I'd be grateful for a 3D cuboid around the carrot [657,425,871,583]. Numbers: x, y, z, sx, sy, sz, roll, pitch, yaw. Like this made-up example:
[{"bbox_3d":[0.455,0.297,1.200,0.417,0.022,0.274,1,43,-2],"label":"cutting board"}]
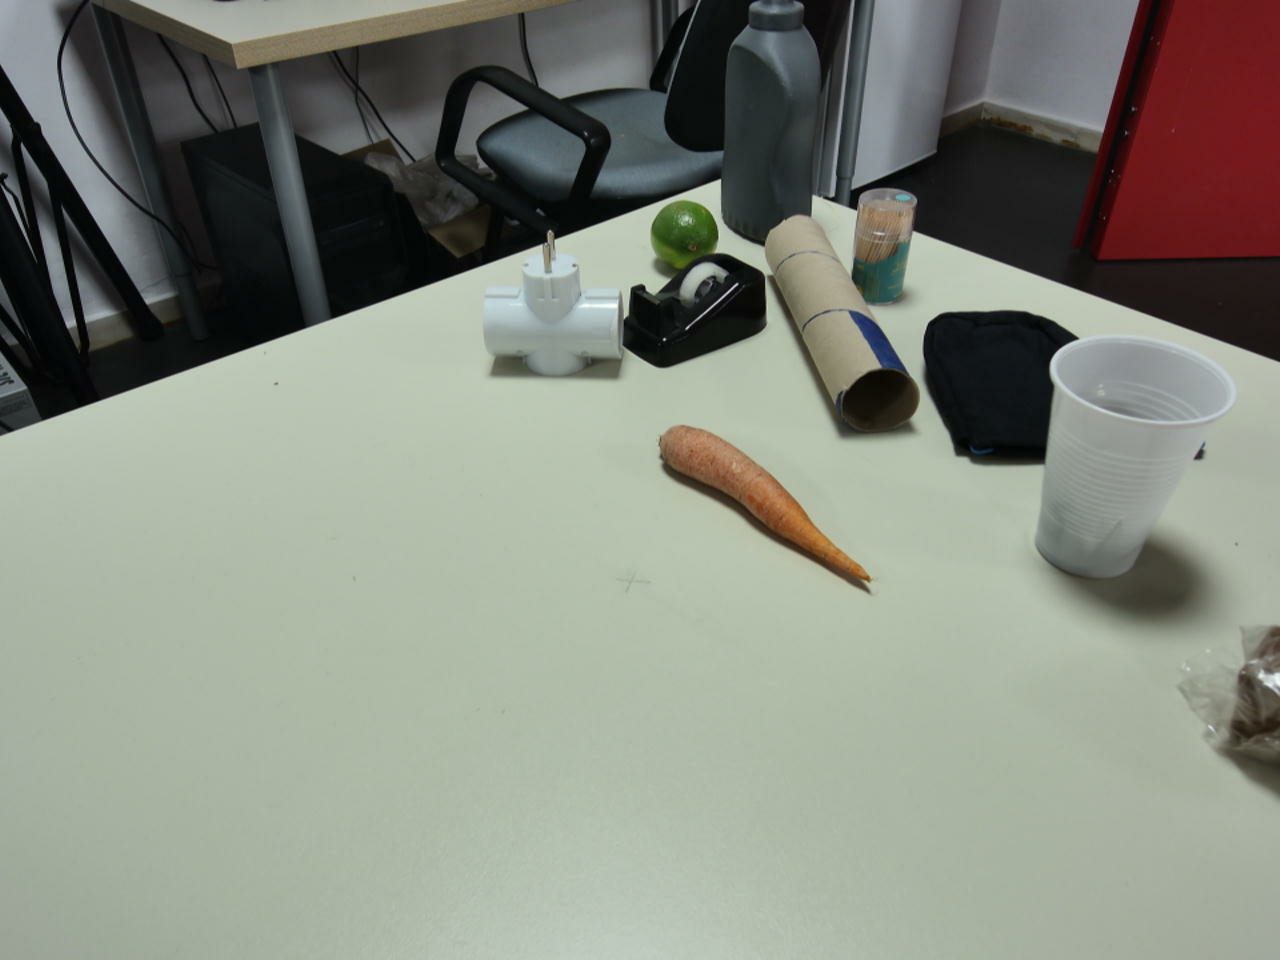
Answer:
[{"bbox_3d":[0.068,0.008,0.555,0.031,0.029,0.163,-26,44,-31],"label":"carrot"}]
